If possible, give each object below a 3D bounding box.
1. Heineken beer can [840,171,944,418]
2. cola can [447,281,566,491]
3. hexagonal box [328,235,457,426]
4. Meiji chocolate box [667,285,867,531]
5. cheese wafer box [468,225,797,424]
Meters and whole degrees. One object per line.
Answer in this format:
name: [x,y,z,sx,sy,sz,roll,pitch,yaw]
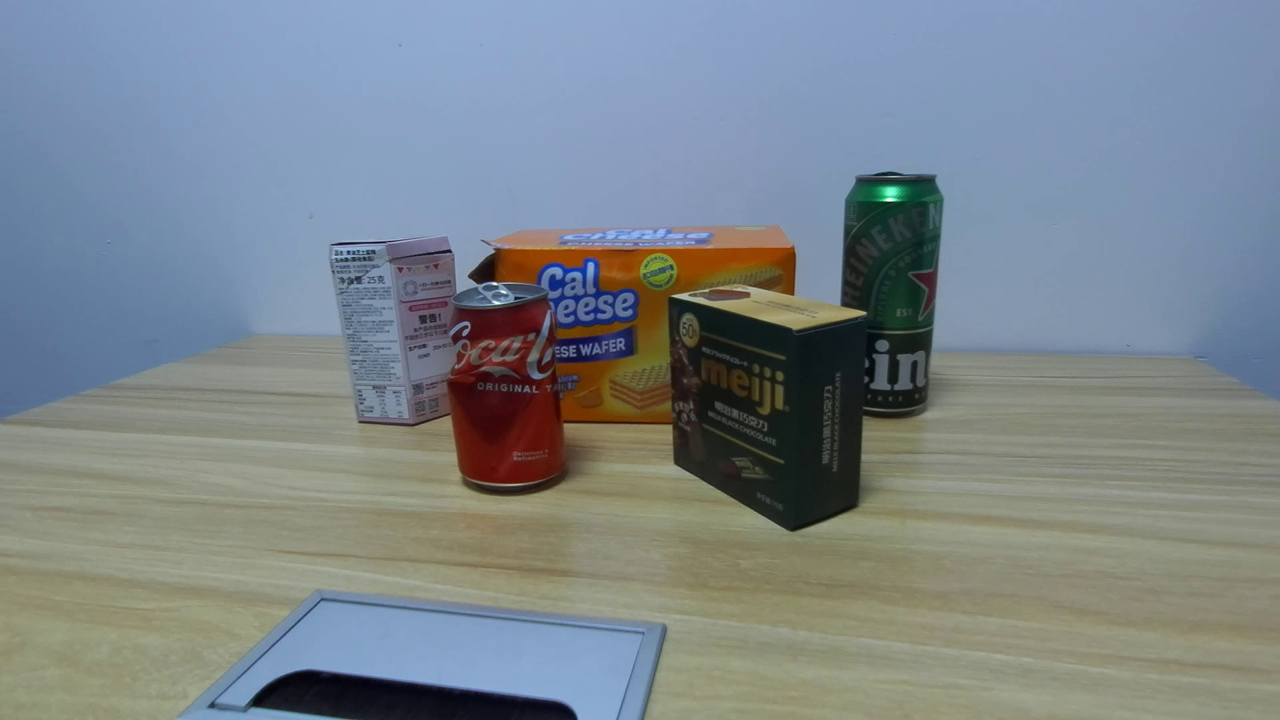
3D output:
Heineken beer can: [0.179,-0.046,0.512,0.067,0.169,0.067,-1,14,1]
cola can: [-0.080,0.014,0.421,0.066,0.117,0.066,-2,16,-2]
hexagonal box: [-0.183,-0.026,0.542,0.084,0.135,0.092,13,22,43]
Meiji chocolate box: [0.068,0.020,0.398,0.056,0.109,0.109,-12,19,-30]
cheese wafer box: [0.004,-0.036,0.557,0.227,0.137,0.149,0,16,6]
